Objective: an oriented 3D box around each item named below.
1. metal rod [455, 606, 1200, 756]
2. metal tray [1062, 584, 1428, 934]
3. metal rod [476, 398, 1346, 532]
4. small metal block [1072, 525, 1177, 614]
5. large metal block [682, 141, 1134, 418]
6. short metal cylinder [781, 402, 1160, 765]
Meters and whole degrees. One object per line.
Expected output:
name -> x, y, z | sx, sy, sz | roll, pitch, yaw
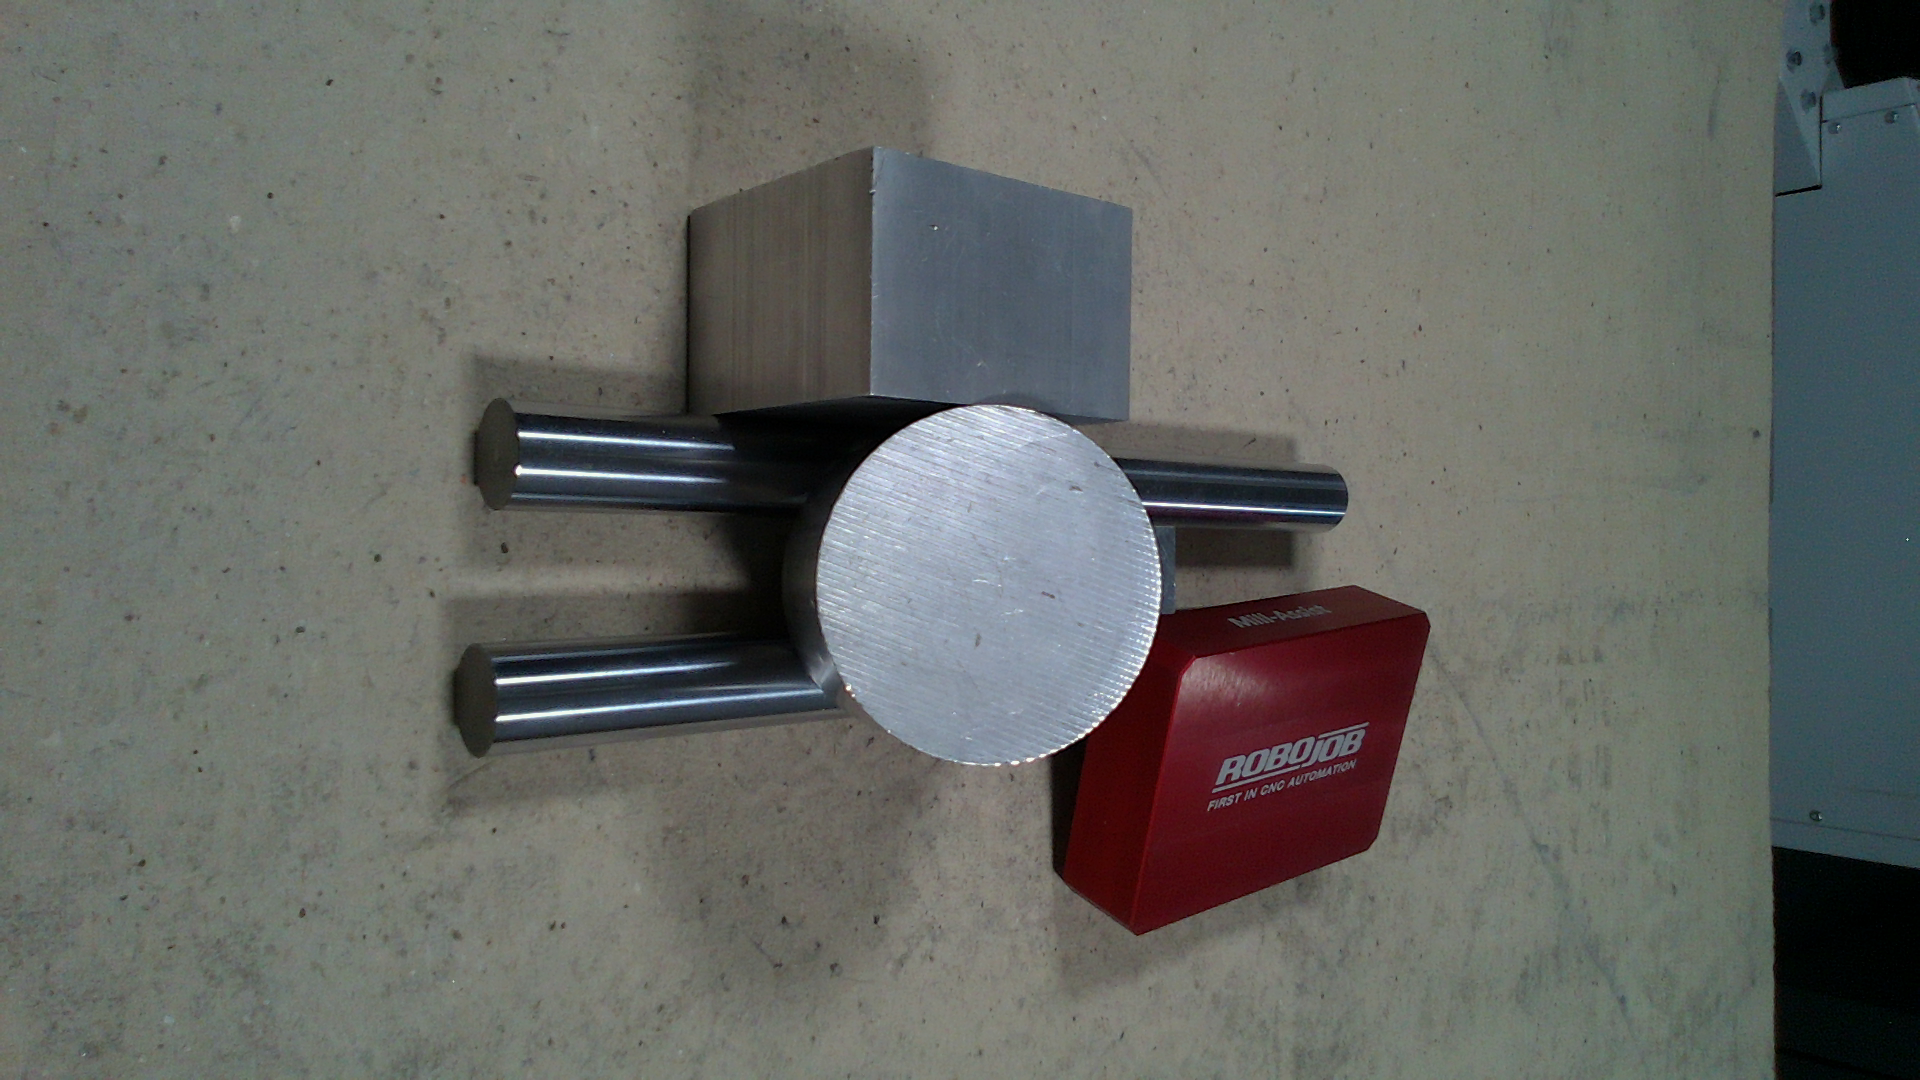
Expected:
metal rod -> 0.010, 0.034, 0.397 | 0.301, 0.025, 0.025 | 0, 90, -40
metal tray -> 0.096, 0.067, 0.447 | 0.131, 0.030, 0.090 | -5, 111, -41
metal rod -> 0.013, -0.017, 0.400 | 0.301, 0.025, 0.025 | 1, 89, -40
small metal block -> 0.027, 0.008, 0.394 | 0.050, 0.050, 0.025 | 1, 89, -40
large metal block -> -0.014, -0.058, 0.343 | 0.080, 0.080, 0.050 | 1, 89, -40
short metal cylinder -> 0.001, 0.010, 0.327 | 0.080, 0.050, 0.080 | 1, 88, -16
